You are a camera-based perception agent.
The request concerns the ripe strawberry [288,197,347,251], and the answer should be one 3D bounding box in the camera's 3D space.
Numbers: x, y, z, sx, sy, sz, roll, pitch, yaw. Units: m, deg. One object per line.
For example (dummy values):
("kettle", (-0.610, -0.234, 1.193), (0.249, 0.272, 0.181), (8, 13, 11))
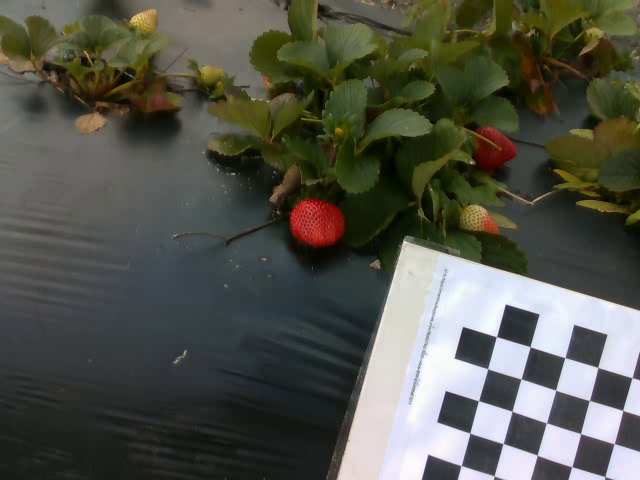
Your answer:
("ripe strawberry", (-0.005, -0.010, 0.354), (0.037, 0.037, 0.046), (-29, 35, 11))
